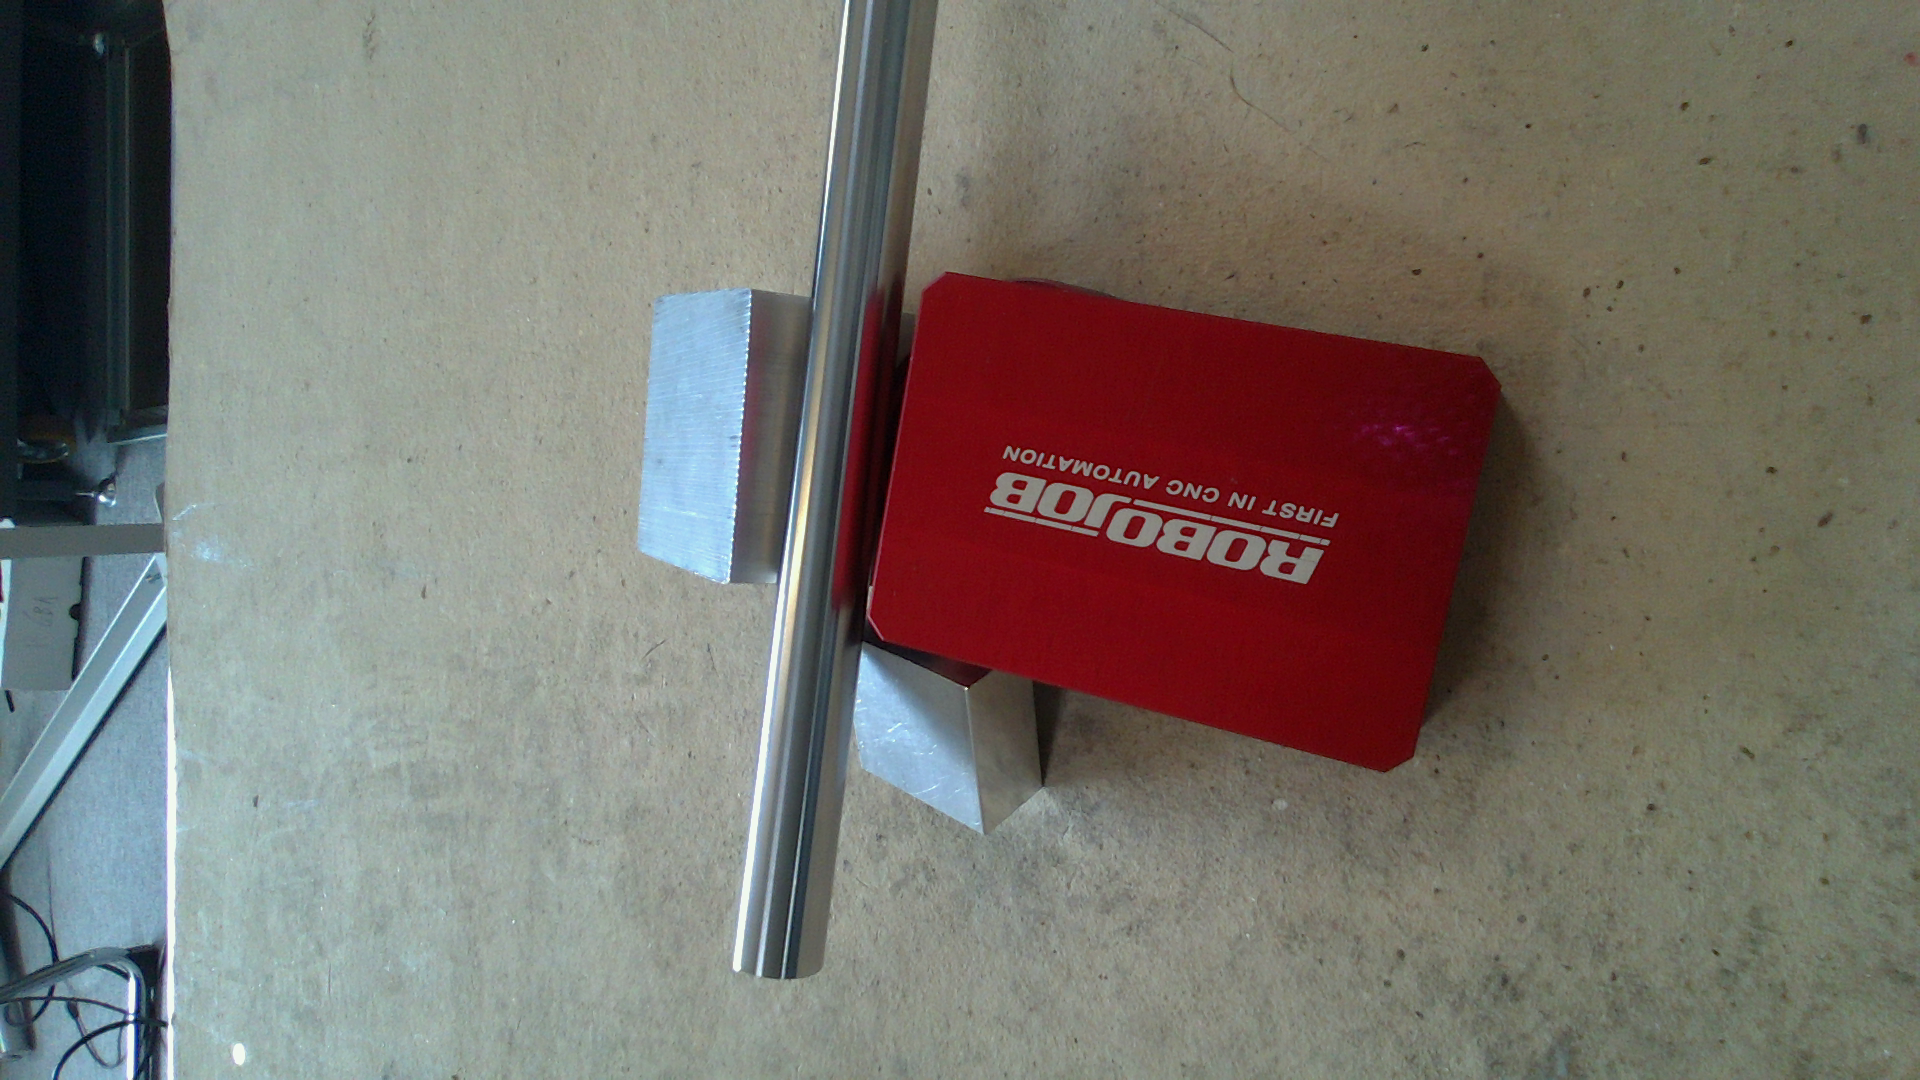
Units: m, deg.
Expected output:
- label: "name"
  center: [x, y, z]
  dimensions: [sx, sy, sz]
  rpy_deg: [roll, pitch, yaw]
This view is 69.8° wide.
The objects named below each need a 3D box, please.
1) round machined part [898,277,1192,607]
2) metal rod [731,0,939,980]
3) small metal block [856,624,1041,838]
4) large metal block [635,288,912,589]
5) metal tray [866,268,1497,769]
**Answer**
- label: "round machined part"
  center: [0.013, -0.022, 0.372]
  dimensions: [0.098, 0.042, 0.098]
  rpy_deg: [0, 90, 40]
- label: "metal rod"
  center: [-0.031, -0.034, 0.367]
  dimensions: [0.025, 0.025, 0.300]
  rpy_deg: [10, 94, 40]
- label: "small metal block"
  center: [-0.006, 0.048, 0.387]
  dimensions: [0.050, 0.025, 0.050]
  rpy_deg: [20, 128, 39]
- label: "large metal block"
  center: [-0.058, -0.031, 0.413]
  dimensions: [0.080, 0.050, 0.080]
  rpy_deg: [13, 99, 58]
- label: "metal tray"
  center: [0.048, -0.008, 0.322]
  dimensions: [0.130, 0.030, 0.090]
  rpy_deg: [13, 100, 19]
